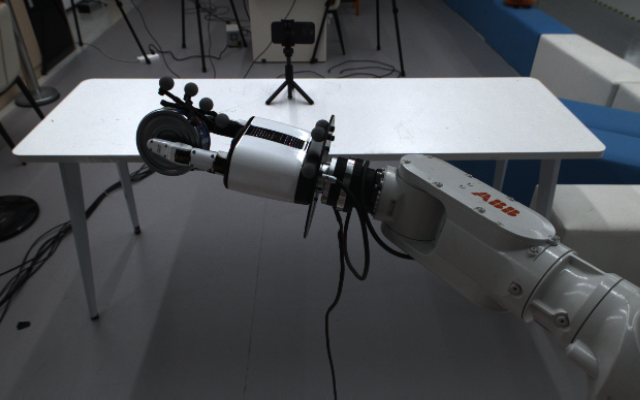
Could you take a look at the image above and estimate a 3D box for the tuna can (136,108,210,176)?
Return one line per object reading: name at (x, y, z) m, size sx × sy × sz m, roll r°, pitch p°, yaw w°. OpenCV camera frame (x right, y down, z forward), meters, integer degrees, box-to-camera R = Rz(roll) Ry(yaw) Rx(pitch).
tuna can at (-0.184, -0.074, 0.607) m, size 0.085 × 0.085 × 0.034 m, roll 6°, pitch 19°, yaw 6°
